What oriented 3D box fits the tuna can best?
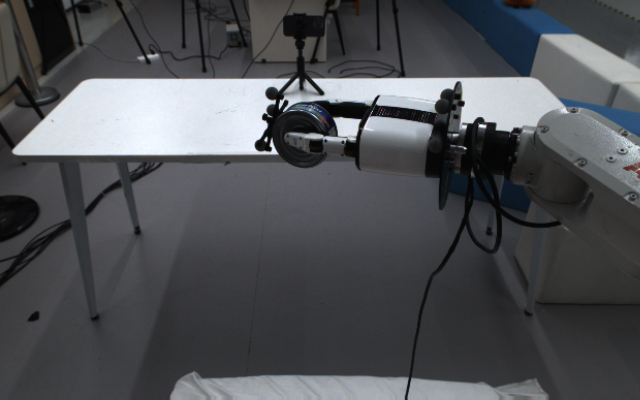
[{"bbox_3d":[-0.018,-0.085,0.656,0.085,0.085,0.034,12,30,14],"label":"tuna can"}]
